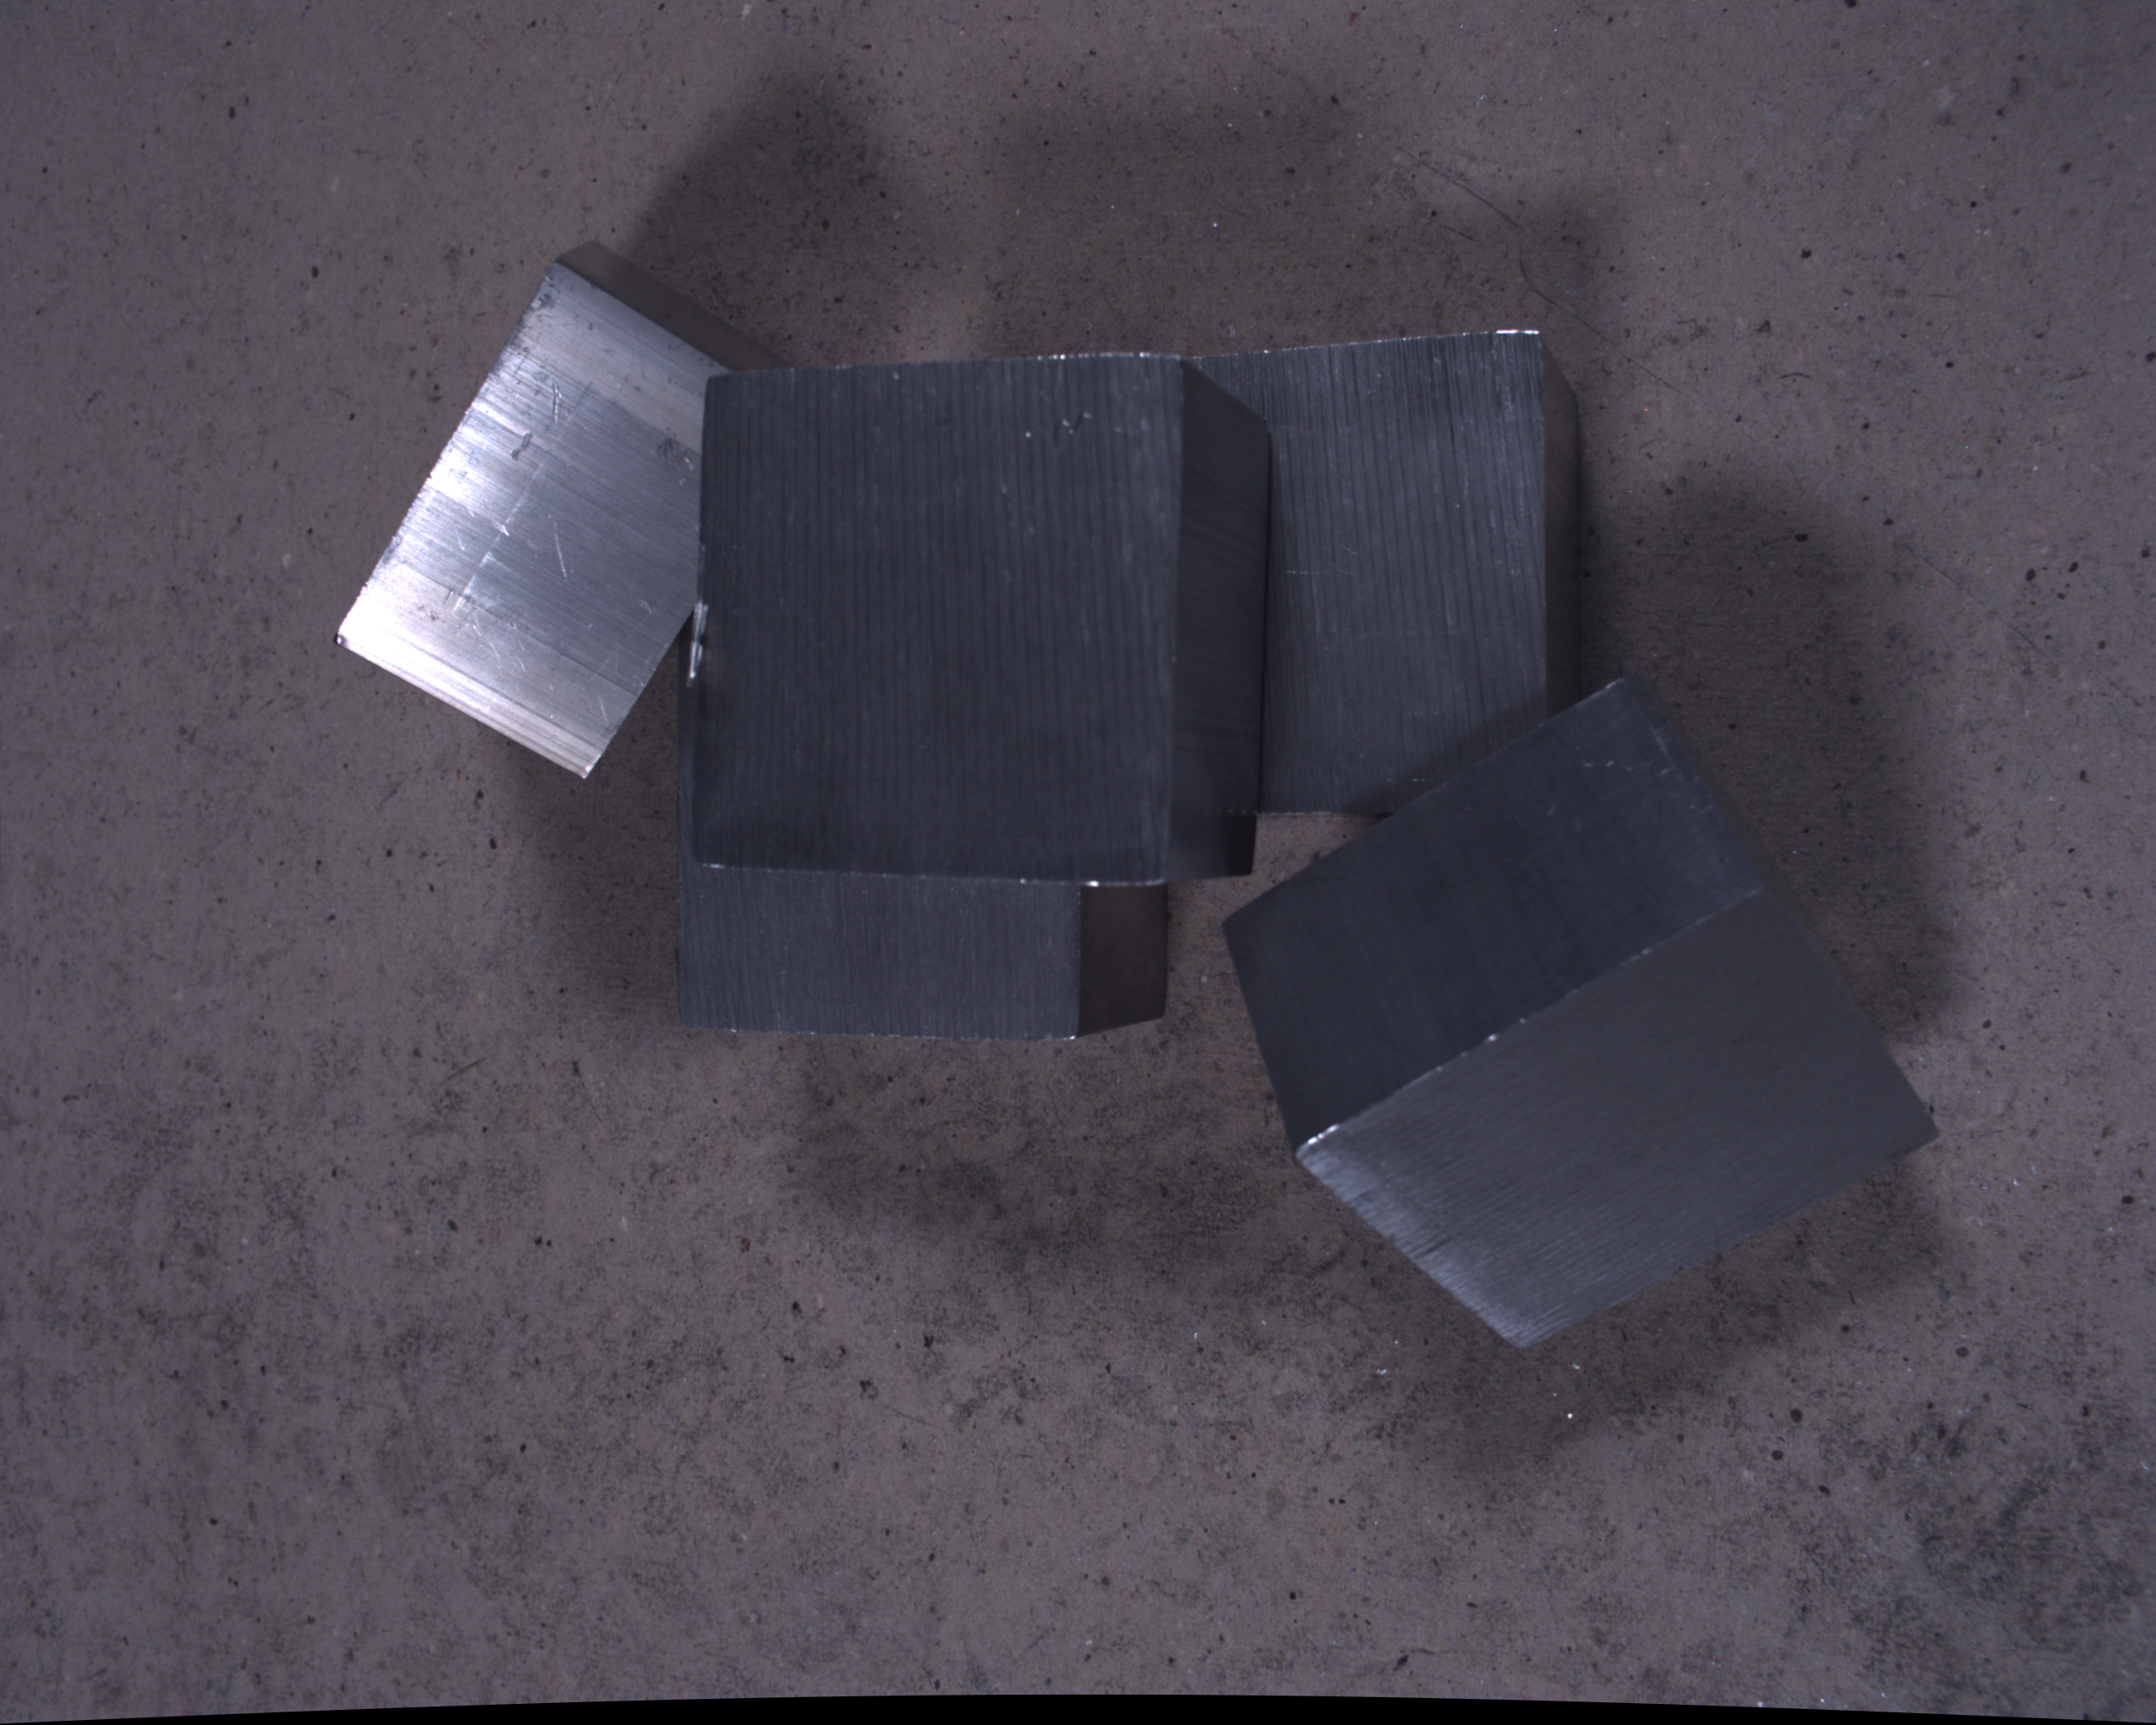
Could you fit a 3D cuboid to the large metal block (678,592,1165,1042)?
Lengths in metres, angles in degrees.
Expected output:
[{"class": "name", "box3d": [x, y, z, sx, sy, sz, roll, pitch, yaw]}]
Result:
[{"class": "large metal block", "box3d": [-0.029, -0.009, 0.404, 0.080, 0.050, 0.079, 0, 90, 19]}]

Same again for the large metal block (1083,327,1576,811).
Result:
[{"class": "large metal block", "box3d": [0.047, -0.049, 0.380, 0.080, 0.050, 0.079, 0, 90, 19]}]

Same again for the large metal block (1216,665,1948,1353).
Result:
[{"class": "large metal block", "box3d": [0.083, 0.027, 0.344, 0.080, 0.080, 0.050, -33, 42, 17]}]

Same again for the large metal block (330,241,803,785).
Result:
[{"class": "large metal block", "box3d": [-0.095, -0.071, 0.406, 0.050, 0.080, 0.080, 31, 102, -17]}]

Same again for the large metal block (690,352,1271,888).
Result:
[{"class": "large metal block", "box3d": [-0.015, -0.038, 0.346, 0.080, 0.050, 0.079, 2, 91, 19]}]
